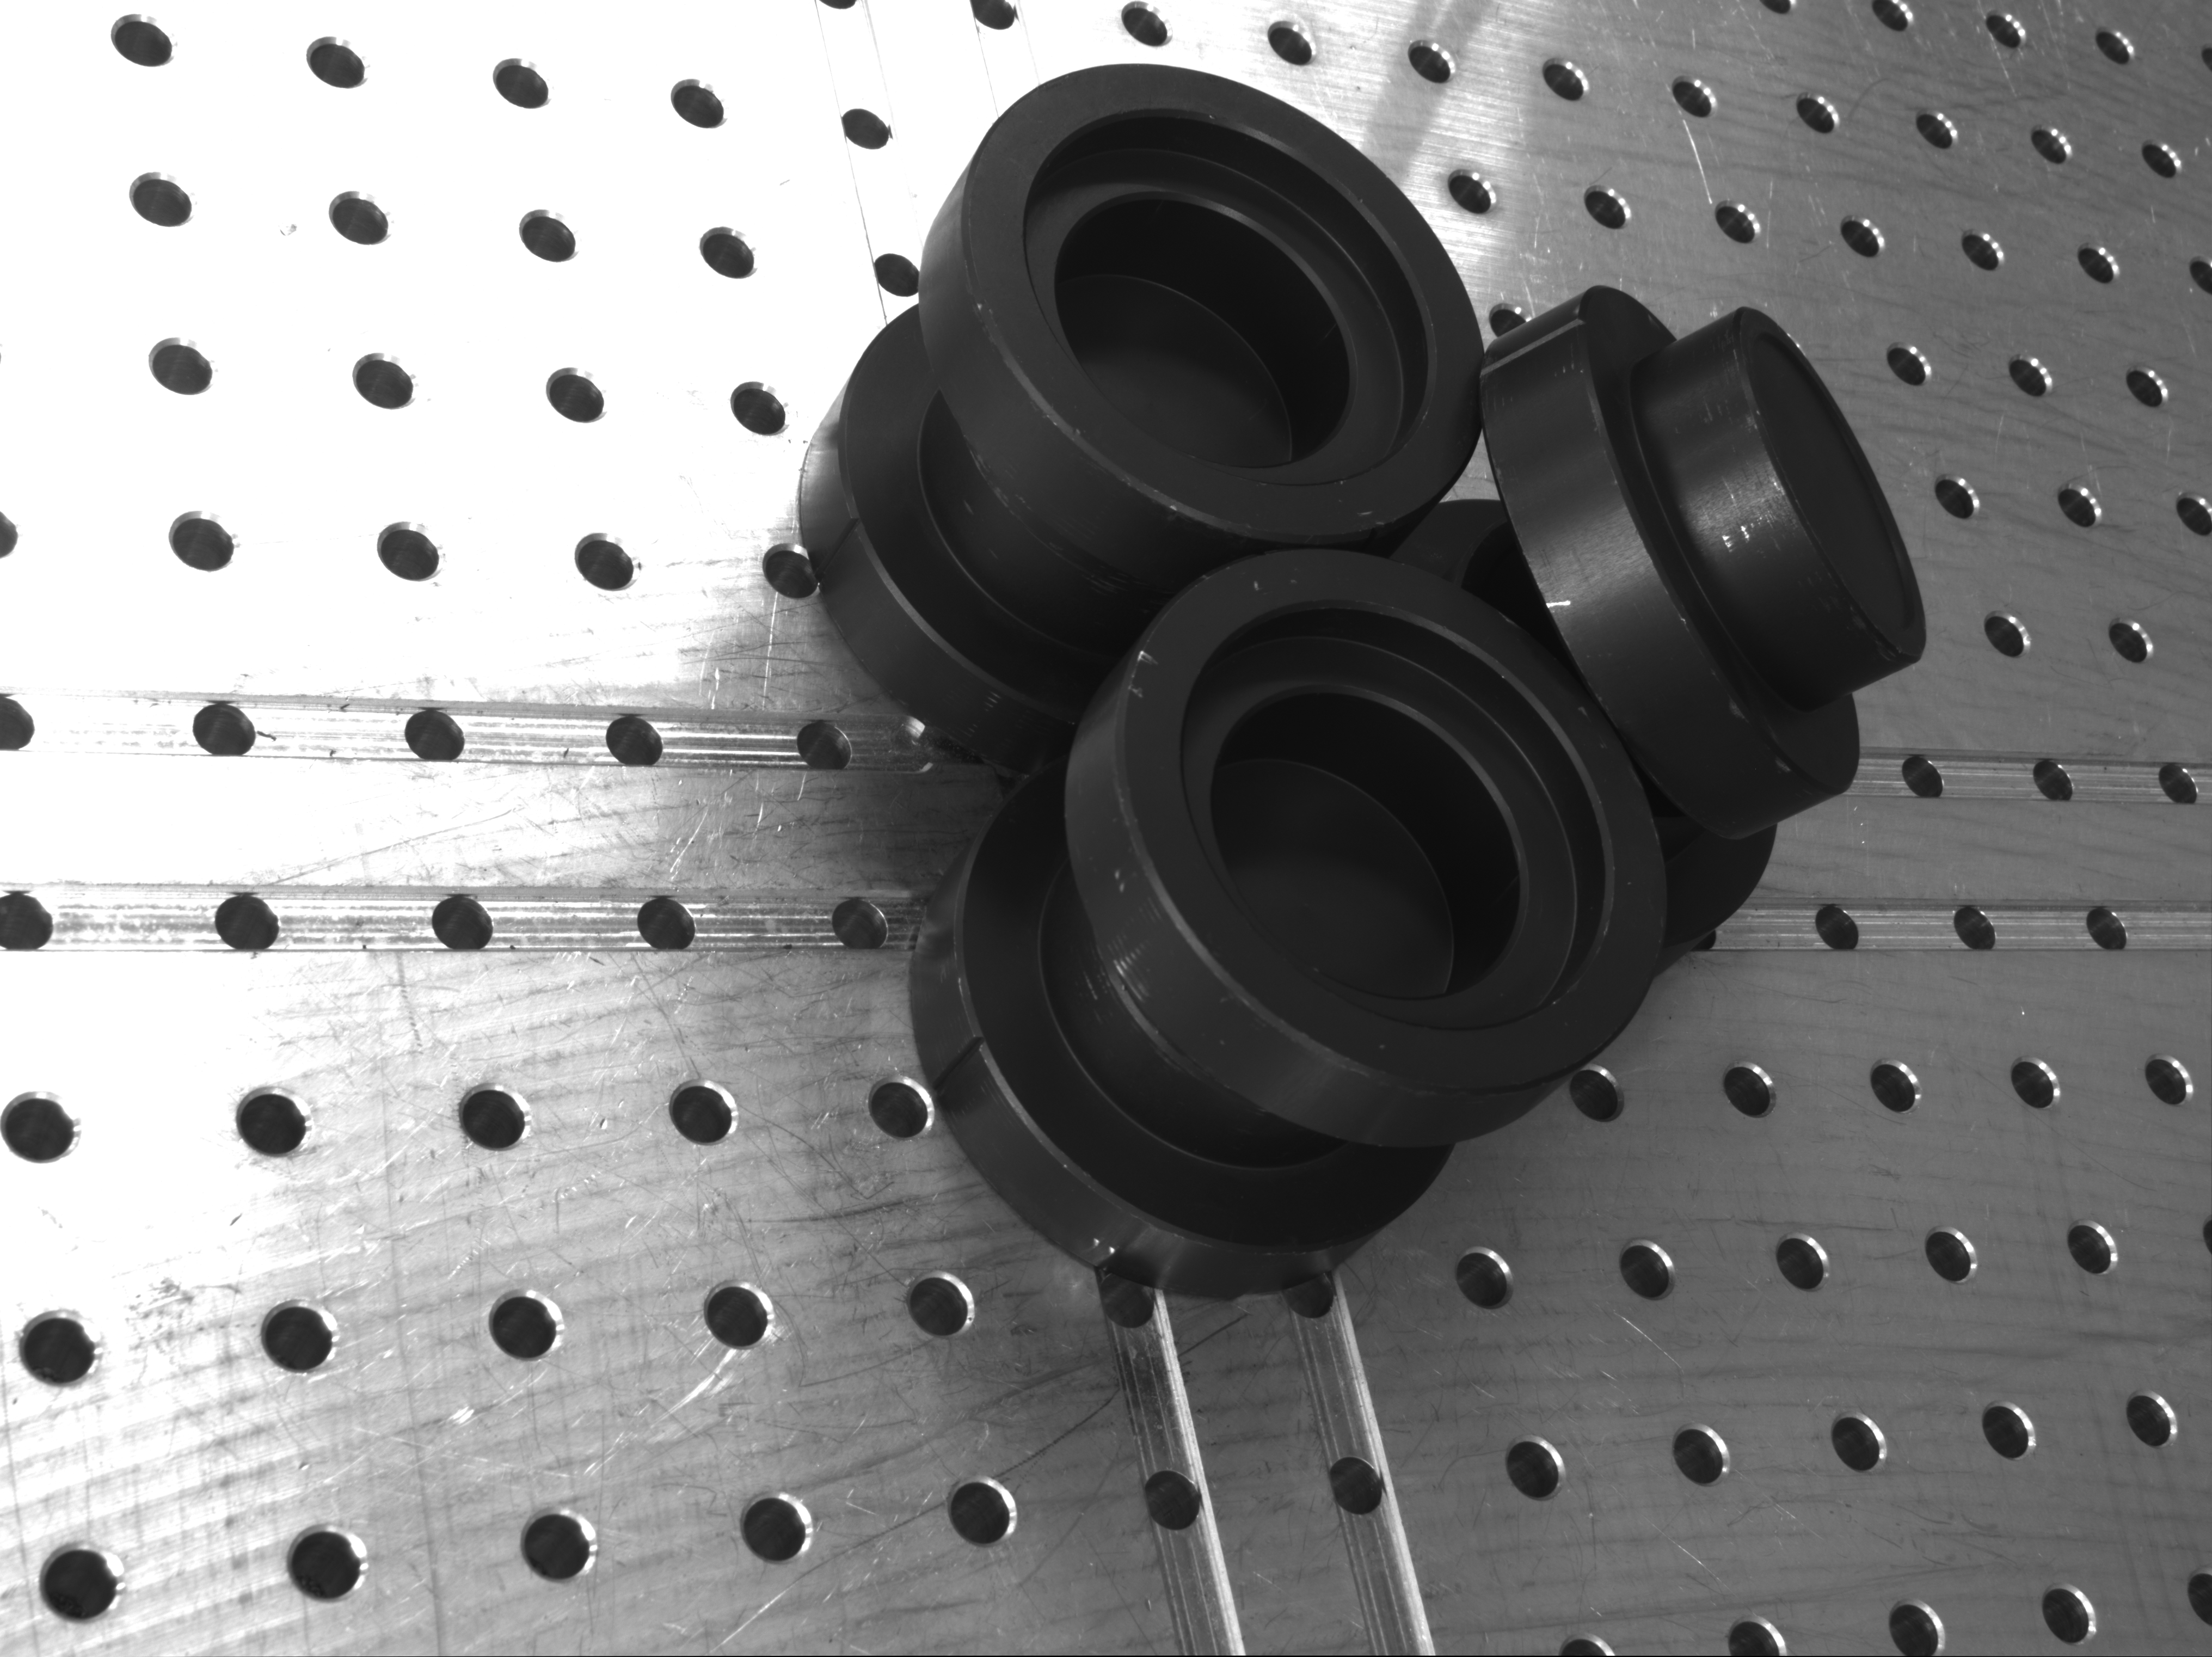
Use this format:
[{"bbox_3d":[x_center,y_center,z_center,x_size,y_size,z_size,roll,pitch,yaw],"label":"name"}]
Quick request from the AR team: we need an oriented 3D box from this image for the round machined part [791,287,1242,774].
[{"bbox_3d":[-0.004,-0.059,0.667,0.098,0.042,0.098,13,56,-21],"label":"round machined part"}]

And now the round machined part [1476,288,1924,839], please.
[{"bbox_3d":[0.107,-0.051,0.639,0.098,0.042,0.098,45,30,-35],"label":"round machined part"}]

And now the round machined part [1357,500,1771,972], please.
[{"bbox_3d":[0.085,-0.021,0.690,0.098,0.042,0.098,13,56,-21],"label":"round machined part"}]

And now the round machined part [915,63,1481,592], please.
[{"bbox_3d":[0.012,-0.080,0.632,0.098,0.042,0.098,13,56,-21],"label":"round machined part"}]

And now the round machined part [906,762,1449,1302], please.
[{"bbox_3d":[0.019,0.027,0.626,0.098,0.042,0.098,13,56,-21],"label":"round machined part"}]

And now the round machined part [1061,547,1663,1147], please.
[{"bbox_3d":[0.037,0.007,0.592,0.098,0.042,0.098,13,56,-21],"label":"round machined part"}]
